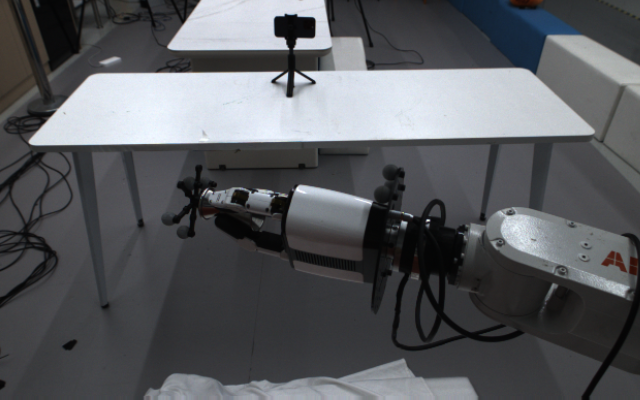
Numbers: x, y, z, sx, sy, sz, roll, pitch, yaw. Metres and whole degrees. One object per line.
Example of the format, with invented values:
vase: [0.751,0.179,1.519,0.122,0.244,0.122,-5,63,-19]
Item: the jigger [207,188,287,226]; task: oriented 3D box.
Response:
jigger: [-0.096,0.005,0.568,0.071,0.043,0.043,10,35,16]
